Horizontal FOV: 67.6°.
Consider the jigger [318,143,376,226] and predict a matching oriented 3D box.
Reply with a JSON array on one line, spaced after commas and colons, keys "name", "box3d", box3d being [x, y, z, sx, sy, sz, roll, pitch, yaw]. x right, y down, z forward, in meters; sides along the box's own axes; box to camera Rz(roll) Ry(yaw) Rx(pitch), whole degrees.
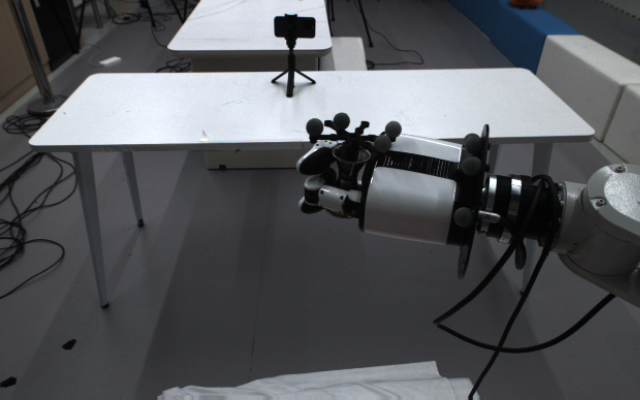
[{"name": "jigger", "box3d": [0.034, -0.021, 0.524, 0.043, 0.071, 0.043, 4, 31, -2]}]
